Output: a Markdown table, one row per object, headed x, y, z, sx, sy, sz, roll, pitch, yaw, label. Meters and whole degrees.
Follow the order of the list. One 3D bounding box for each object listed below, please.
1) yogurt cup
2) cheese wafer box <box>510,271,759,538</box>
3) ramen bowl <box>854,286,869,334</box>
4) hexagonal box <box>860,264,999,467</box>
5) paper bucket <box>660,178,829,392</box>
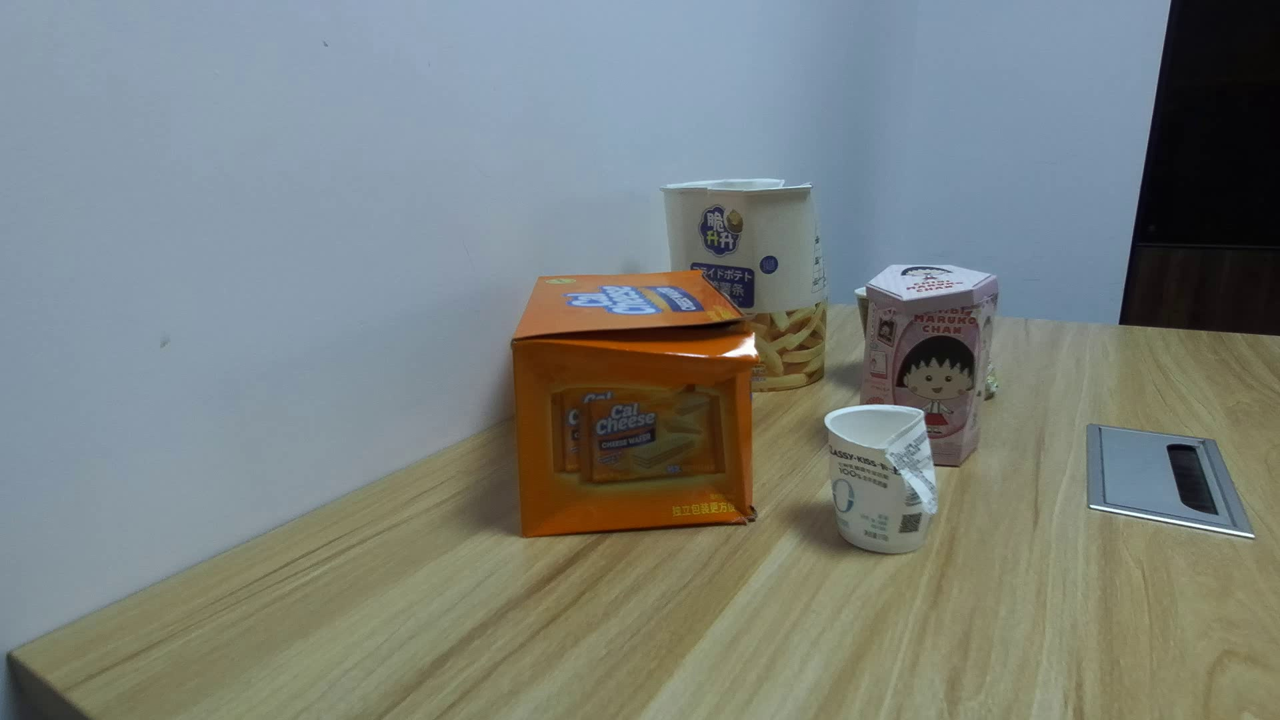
| x | y | z | sx | sy | sz | roll | pitch | yaw | label |
| --- | --- | --- | --- | --- | --- | --- | --- | --- | --- |
| 0.141 | 0.070 | 0.417 | 0.067 | 0.070 | 0.067 | -4 | 18 | 2 | yogurt cup |
| -0.007 | 0.014 | 0.518 | 0.150 | 0.137 | 0.226 | -2 | 16 | -4 | cheese wafer box |
| 0.223 | -0.018 | 0.538 | 0.137 | 0.098 | 0.137 | -9 | 19 | 3 | ramen bowl |
| 0.214 | 0.002 | 0.532 | 0.092 | 0.135 | 0.085 | 2 | 17 | 13 | hexagonal box |
| 0.121 | -0.078 | 0.713 | 0.169 | 0.202 | 0.162 | -11 | 20 | -23 | paper bucket |
